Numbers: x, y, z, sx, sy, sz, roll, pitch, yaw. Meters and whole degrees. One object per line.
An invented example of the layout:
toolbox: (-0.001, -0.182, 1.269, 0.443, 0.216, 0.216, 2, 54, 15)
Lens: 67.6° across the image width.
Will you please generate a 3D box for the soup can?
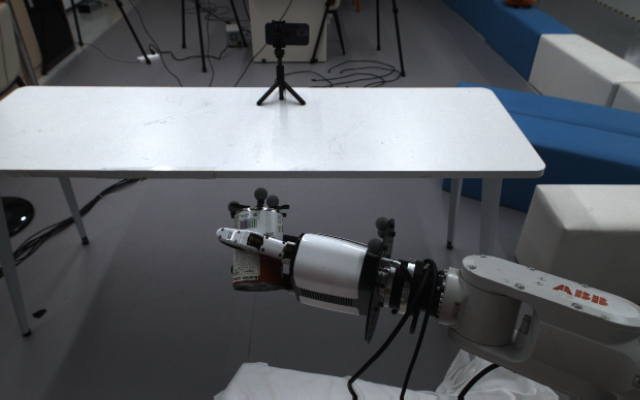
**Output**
soup can: (-0.080, 0.067, 0.643, 0.067, 0.067, 0.101, -1, 71, -5)
